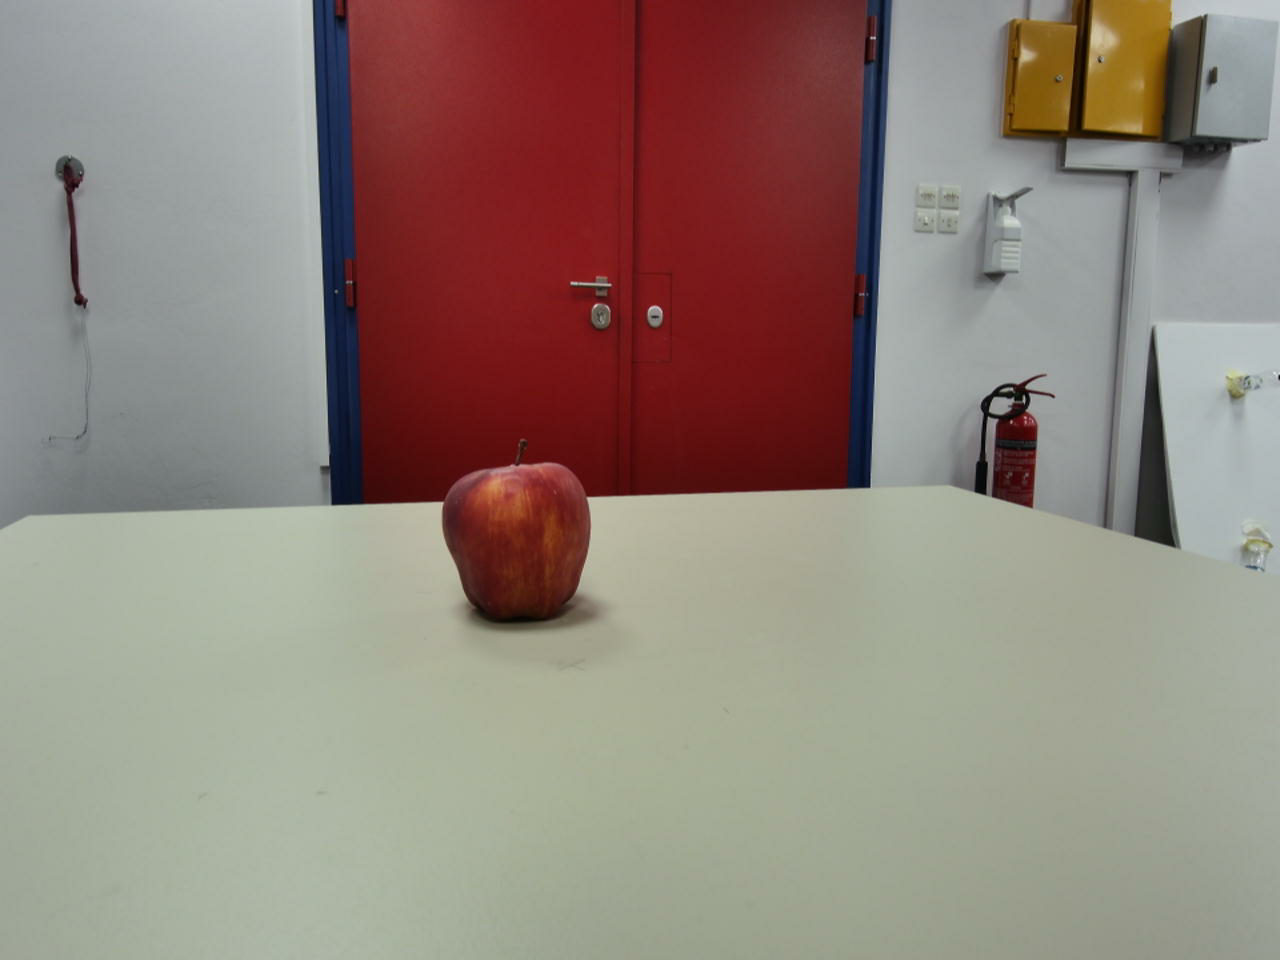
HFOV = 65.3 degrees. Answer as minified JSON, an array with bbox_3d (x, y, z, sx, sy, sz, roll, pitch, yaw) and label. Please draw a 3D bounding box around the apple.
[{"bbox_3d":[-0.065,0.024,0.520,0.083,0.090,0.083,0,6,0],"label":"apple"}]
